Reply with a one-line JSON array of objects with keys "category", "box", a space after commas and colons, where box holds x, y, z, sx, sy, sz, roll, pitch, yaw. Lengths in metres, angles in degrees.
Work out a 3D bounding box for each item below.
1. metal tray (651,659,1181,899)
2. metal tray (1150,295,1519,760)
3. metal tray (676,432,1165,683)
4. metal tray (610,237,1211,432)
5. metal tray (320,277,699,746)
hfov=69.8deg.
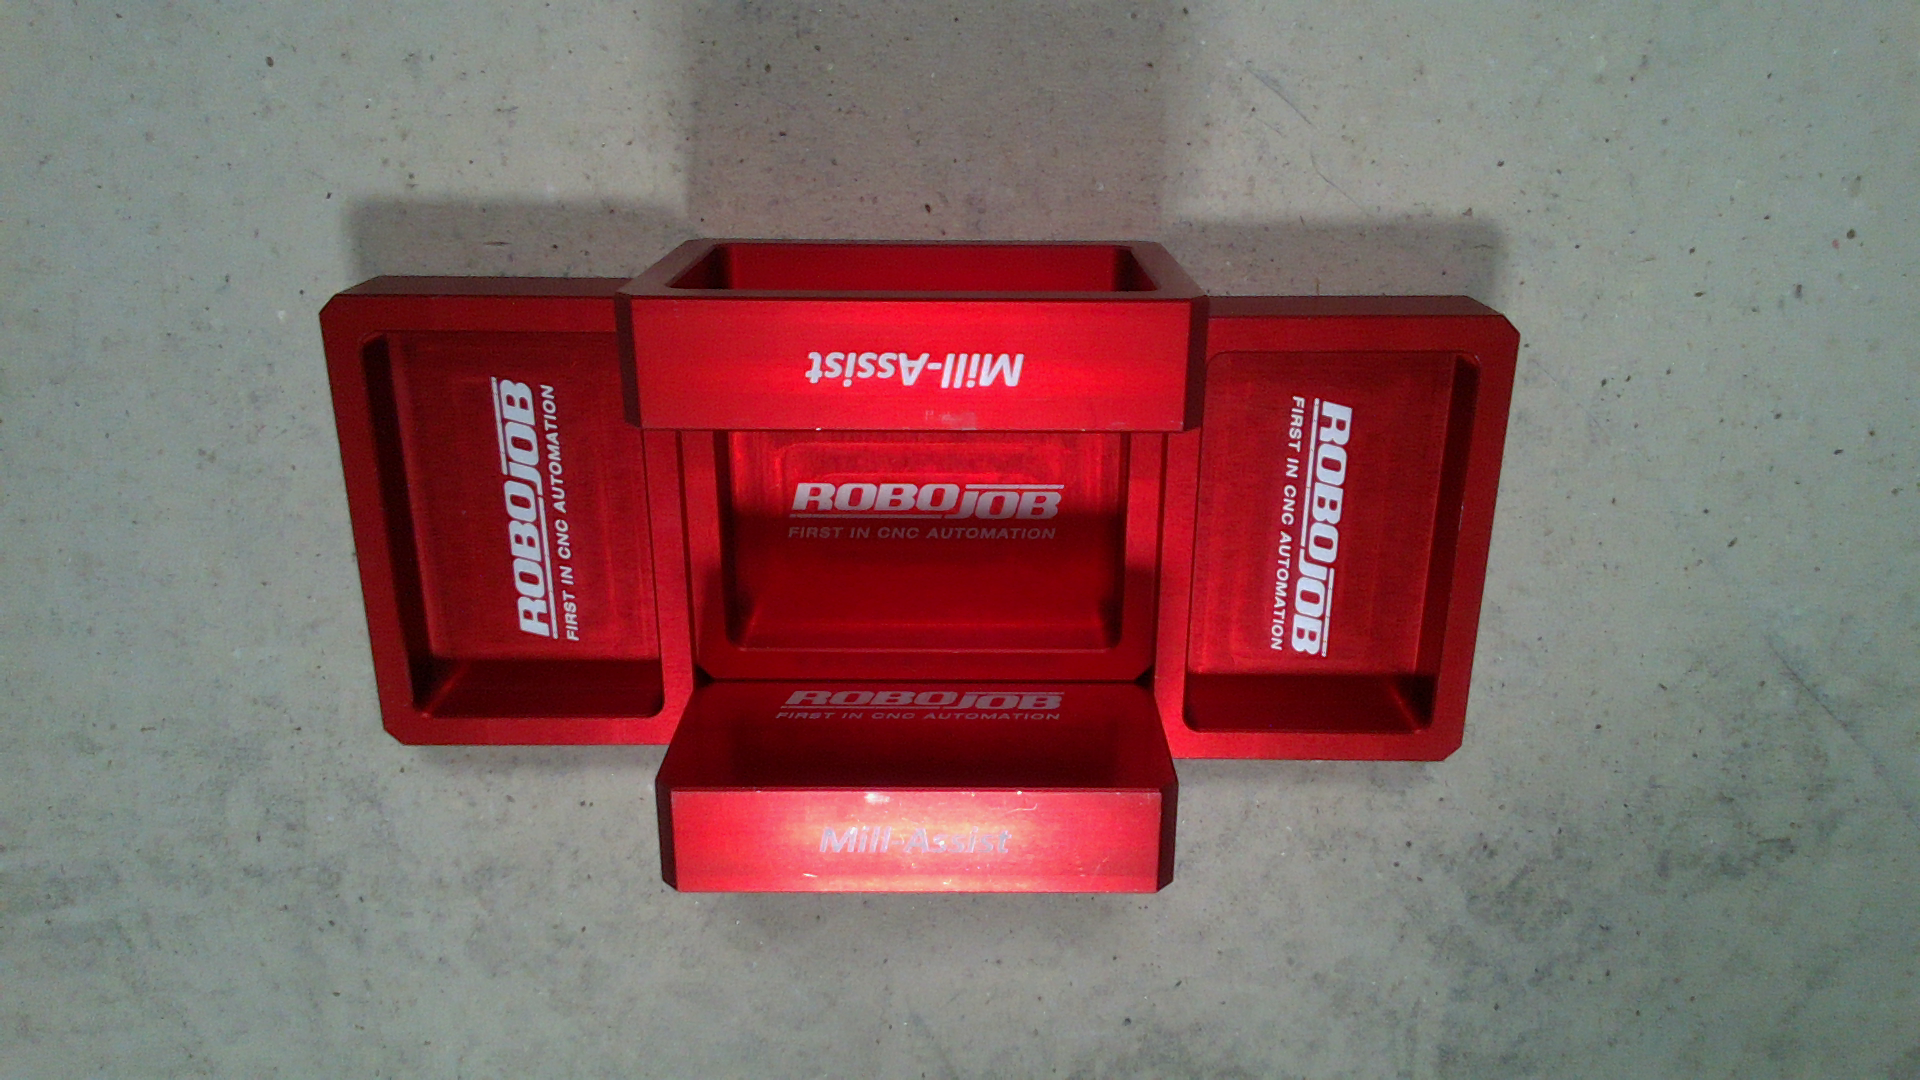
[{"category": "metal tray", "box": [-0.011, 0.060, 0.380, 0.130, 0.090, 0.030, 0, 110, 0]}, {"category": "metal tray", "box": [0.100, -0.002, 0.391, 0.090, 0.030, 0.130, 0, 110, 0]}, {"category": "metal tray", "box": [-0.011, -0.007, 0.389, 0.130, 0.030, 0.090, 1, 110, 0]}, {"category": "metal tray", "box": [-0.010, -0.053, 0.340, 0.130, 0.090, 0.030, 0, 110, 0]}, {"category": "metal tray", "box": [-0.120, -0.006, 0.388, 0.090, 0.030, 0.130, 0, 110, 0]}]
